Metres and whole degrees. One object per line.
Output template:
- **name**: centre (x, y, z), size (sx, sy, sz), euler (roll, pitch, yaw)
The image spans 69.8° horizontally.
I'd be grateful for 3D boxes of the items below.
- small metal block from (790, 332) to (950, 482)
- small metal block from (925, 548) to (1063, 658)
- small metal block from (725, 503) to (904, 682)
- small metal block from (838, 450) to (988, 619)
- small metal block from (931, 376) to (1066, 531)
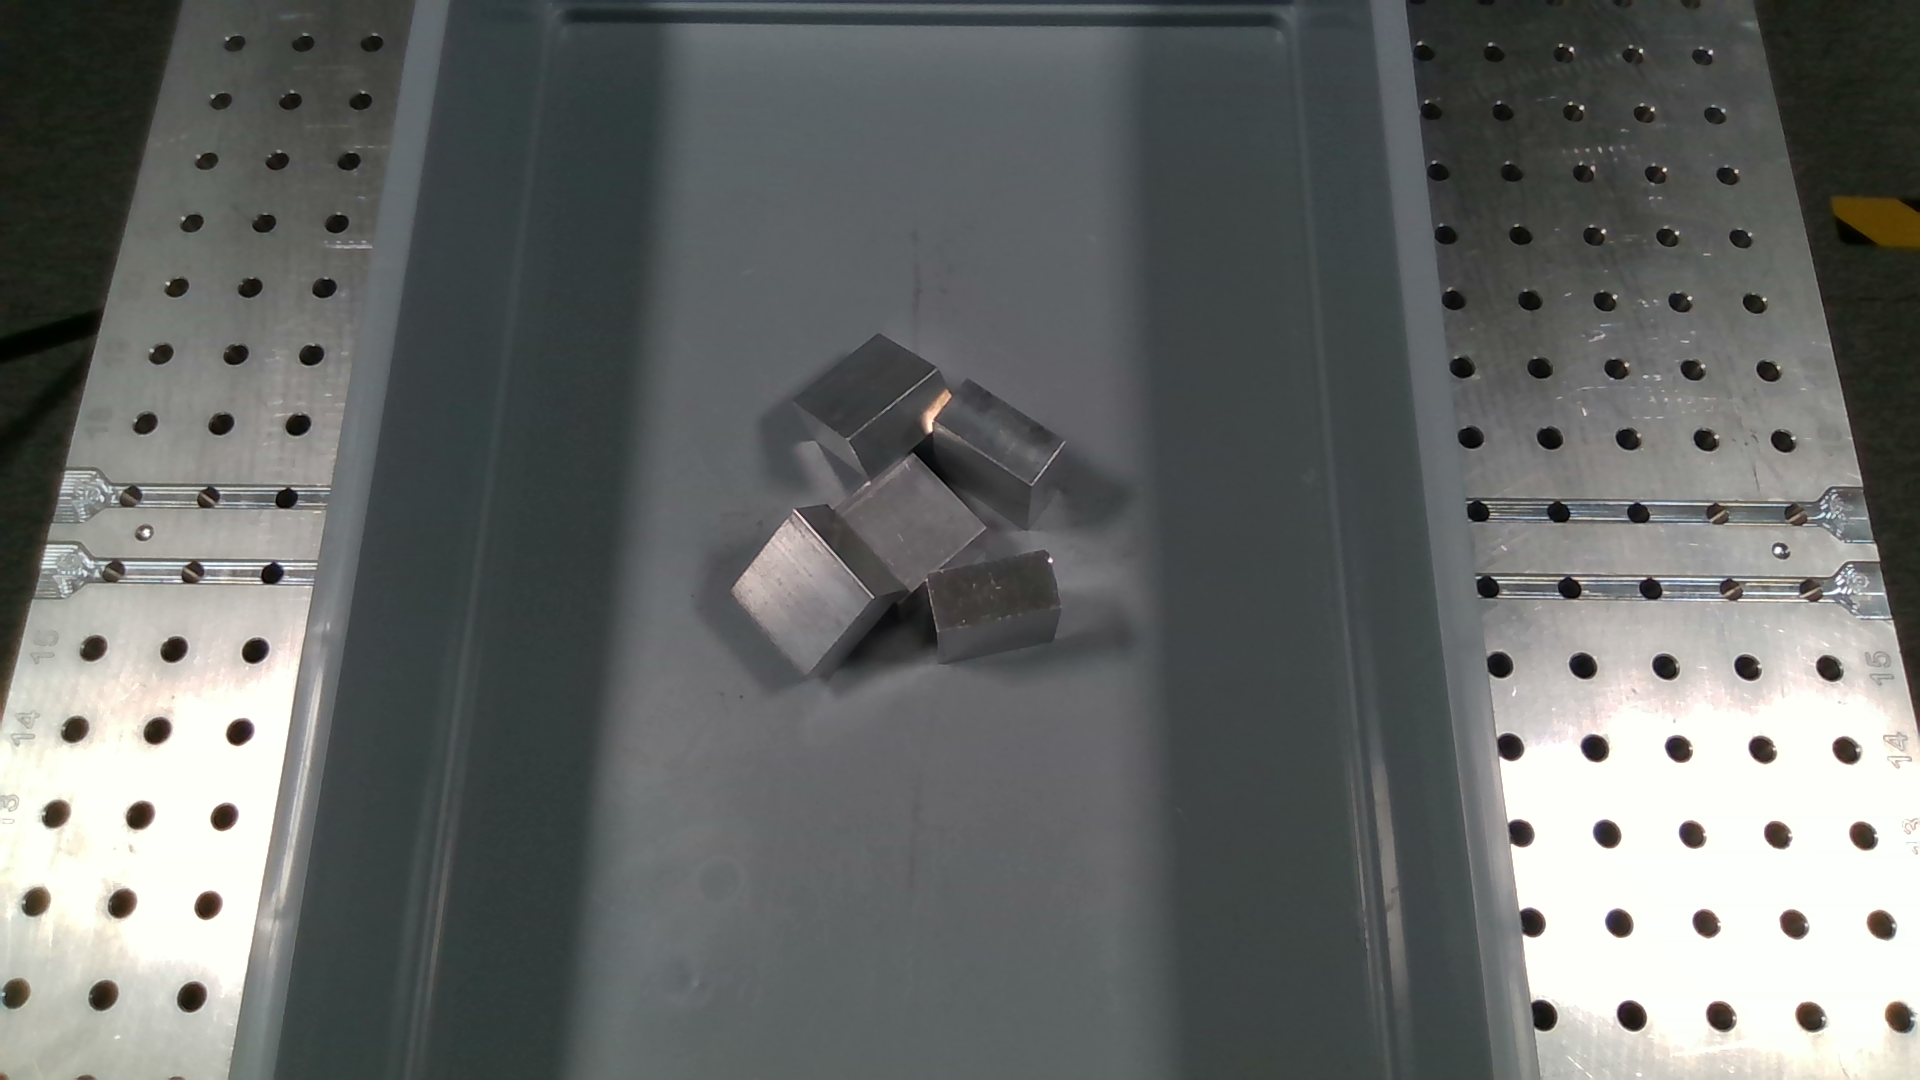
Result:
- **small metal block**: centre (-0.037, -0.058, 0.595), size (0.050, 0.025, 0.050), euler (-39, 42, -13)
- **small metal block**: centre (0.013, 0.028, 0.563), size (0.050, 0.050, 0.025), euler (-11, 71, -4)
- **small metal block**: centre (-0.060, 0.021, 0.565), size (0.050, 0.025, 0.050), euler (47, 113, 14)
- **small metal block**: centre (-0.024, -0.003, 0.587), size (0.050, 0.025, 0.050), euler (-41, 75, -13)
- **small metal block**: centre (0.016, -0.036, 0.586), size (0.050, 0.050, 0.025), euler (35, 73, 12)
